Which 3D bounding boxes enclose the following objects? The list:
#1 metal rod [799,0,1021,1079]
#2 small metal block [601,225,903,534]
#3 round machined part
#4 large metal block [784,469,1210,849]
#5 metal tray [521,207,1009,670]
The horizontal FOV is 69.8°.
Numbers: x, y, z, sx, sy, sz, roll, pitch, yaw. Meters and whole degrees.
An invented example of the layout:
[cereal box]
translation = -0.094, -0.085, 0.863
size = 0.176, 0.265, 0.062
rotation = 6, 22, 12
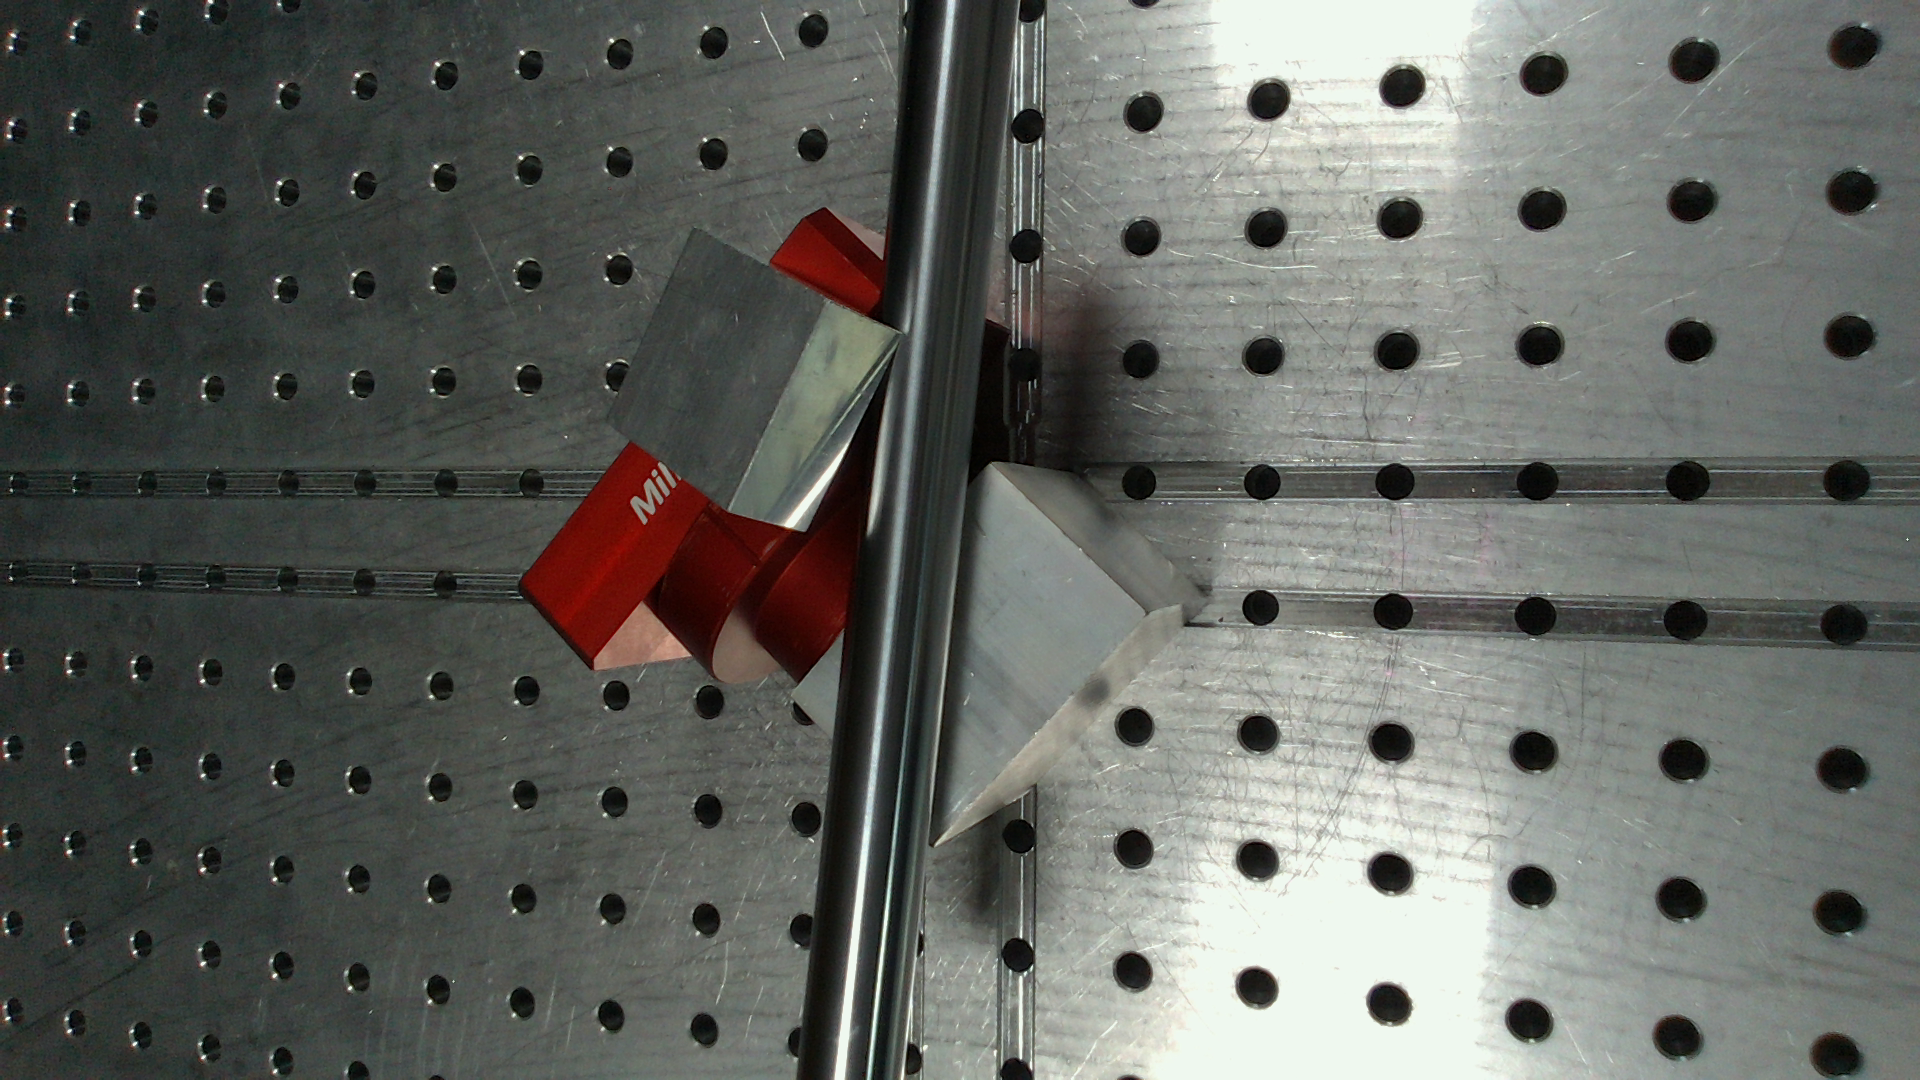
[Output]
[metal rod]
translation = -0.013, 0.014, 0.318
size = 0.025, 0.025, 0.300
rotation = 7, 92, 20
[small metal block]
translation = -0.048, -0.036, 0.312
size = 0.050, 0.025, 0.050
rotation = 33, 100, 36
[round machined part]
translation = -0.029, 0.002, 0.374
size = 0.042, 0.098, 0.098
rotation = 44, 104, 15
[large metal block]
translation = 0.013, 0.030, 0.361
size = 0.050, 0.080, 0.080
rotation = 44, 104, 15
[metal tray]
translation = -0.051, -0.024, 0.382
size = 0.030, 0.090, 0.130
rotation = 45, 104, 15
